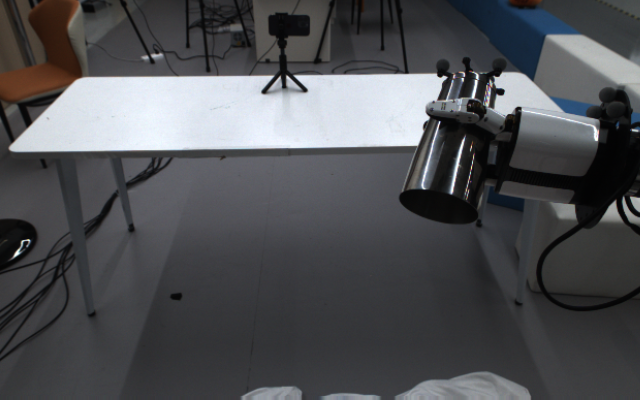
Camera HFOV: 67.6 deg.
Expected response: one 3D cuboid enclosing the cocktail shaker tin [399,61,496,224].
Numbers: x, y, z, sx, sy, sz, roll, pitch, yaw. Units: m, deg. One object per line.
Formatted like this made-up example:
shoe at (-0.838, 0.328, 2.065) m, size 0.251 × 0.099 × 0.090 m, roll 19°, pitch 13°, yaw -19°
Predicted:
cocktail shaker tin at (0.162, -0.068, 0.584) m, size 0.093 × 0.093 × 0.170 m, roll 14°, pitch 70°, yaw 16°
